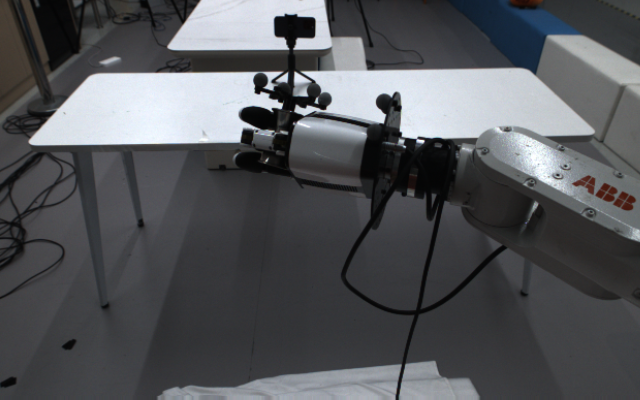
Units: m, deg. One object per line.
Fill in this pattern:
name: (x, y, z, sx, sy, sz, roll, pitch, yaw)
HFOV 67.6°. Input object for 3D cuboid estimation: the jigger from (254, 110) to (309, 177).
jigger: (-0.044, -0.073, 0.590, 0.043, 0.071, 0.043, 14, 1, 0)
